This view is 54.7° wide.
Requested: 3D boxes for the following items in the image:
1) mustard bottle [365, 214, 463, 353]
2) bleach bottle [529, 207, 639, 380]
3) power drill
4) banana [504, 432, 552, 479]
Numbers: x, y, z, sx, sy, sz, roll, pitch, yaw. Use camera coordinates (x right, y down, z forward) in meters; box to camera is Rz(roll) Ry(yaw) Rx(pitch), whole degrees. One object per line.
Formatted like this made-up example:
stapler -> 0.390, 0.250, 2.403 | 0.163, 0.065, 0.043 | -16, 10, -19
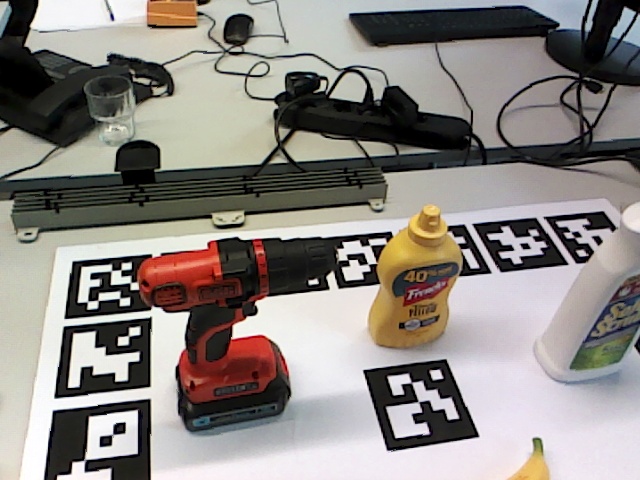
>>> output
mustard bottle -> 0.111, 0.048, 0.698 | 0.096, 0.191, 0.059 | -10, 45, -17
bleach bottle -> 0.312, 0.051, 0.662 | 0.102, 0.250, 0.068 | 1, 43, -4
power drill -> -0.064, 0.073, 0.613 | 0.184, 0.186, 0.058 | -12, 45, -11
banana -> 0.143, 0.241, 0.589 | 0.197, 0.039, 0.074 | -11, 47, -11
